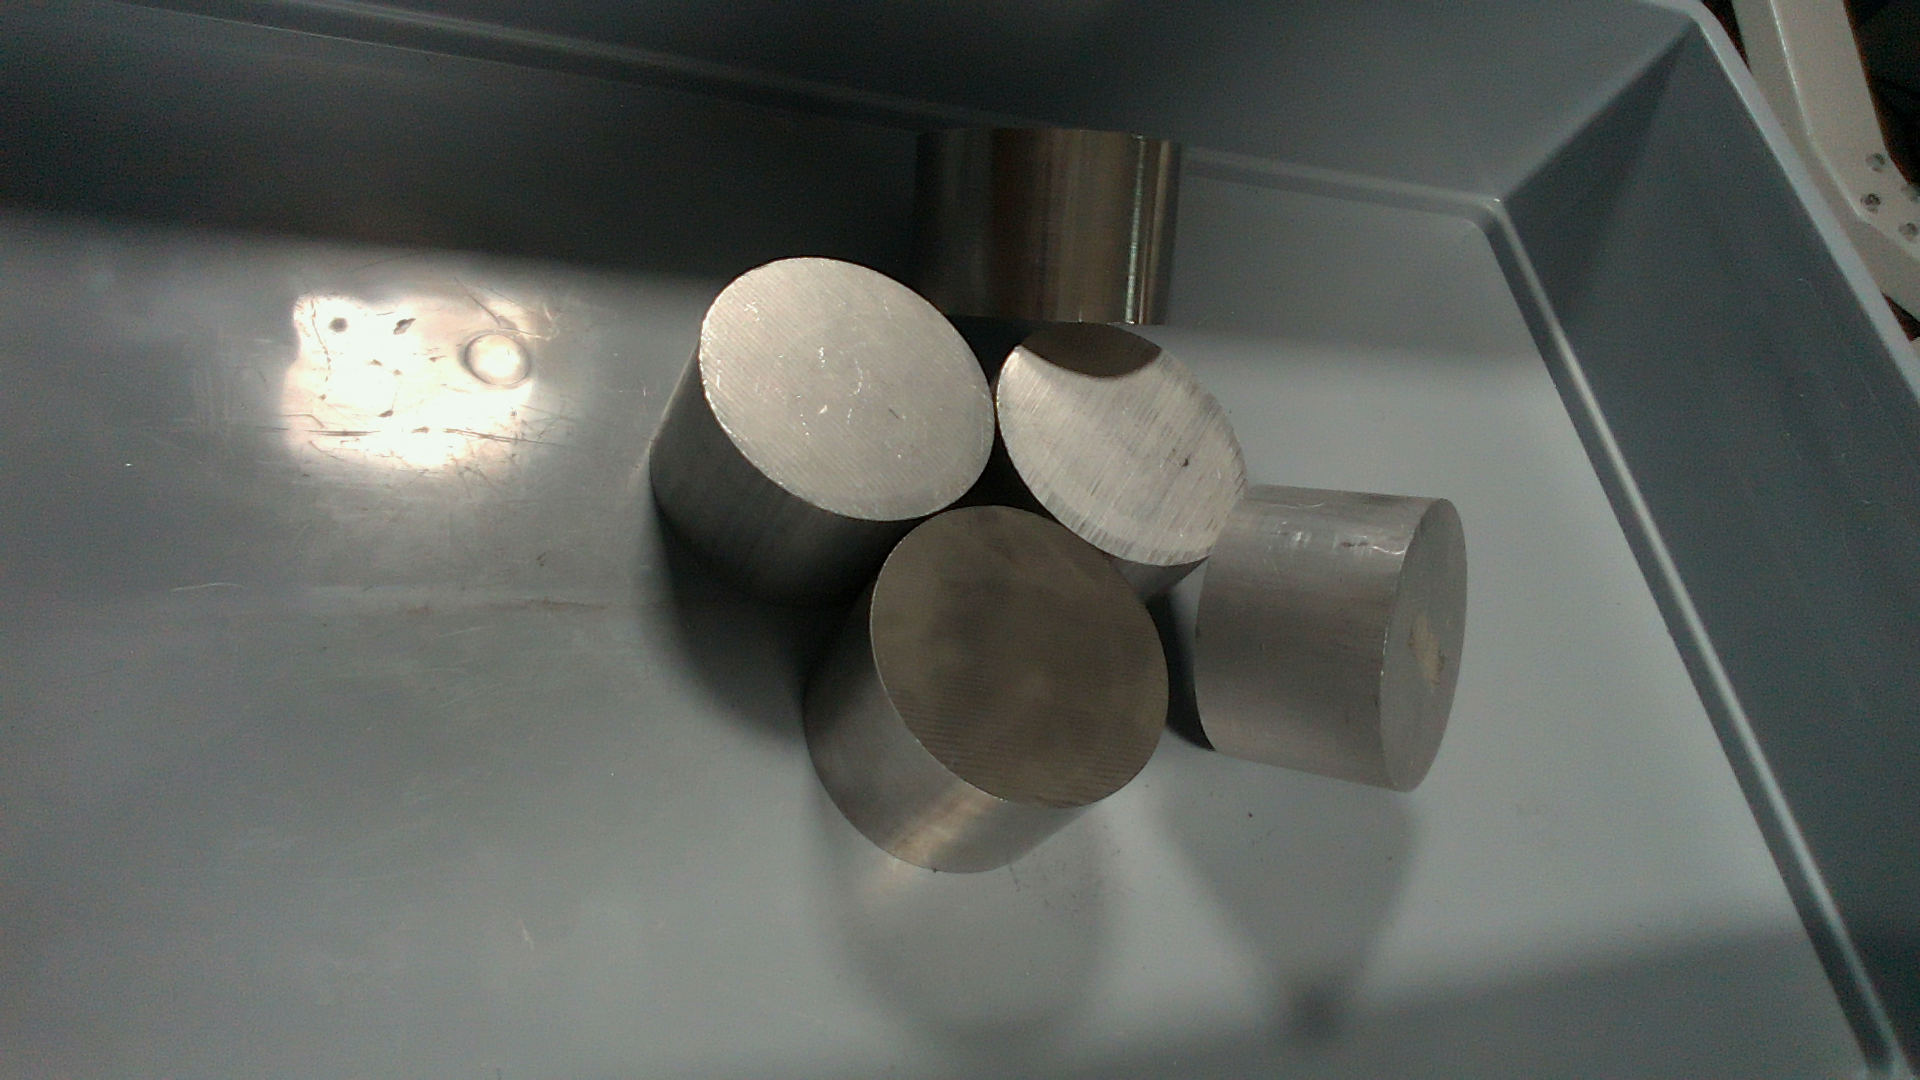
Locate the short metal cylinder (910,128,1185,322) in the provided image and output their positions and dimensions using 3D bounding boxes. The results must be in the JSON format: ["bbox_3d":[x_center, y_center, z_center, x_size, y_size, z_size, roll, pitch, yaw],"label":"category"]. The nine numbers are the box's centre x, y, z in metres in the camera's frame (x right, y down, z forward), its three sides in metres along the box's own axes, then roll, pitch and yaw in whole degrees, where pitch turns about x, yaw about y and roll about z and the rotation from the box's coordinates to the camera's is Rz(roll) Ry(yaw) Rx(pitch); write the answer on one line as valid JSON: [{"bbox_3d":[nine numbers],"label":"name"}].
[{"bbox_3d":[0.026,-0.093,0.414,0.080,0.080,0.050,-3,101,-30],"label":"short metal cylinder"}]

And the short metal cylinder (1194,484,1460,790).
[{"bbox_3d":[0.106,0.026,0.387,0.080,0.050,0.080,-16,109,-55],"label":"short metal cylinder"}]

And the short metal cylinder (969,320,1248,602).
[{"bbox_3d":[0.036,-0.017,0.401,0.080,0.050,0.080,14,56,-21],"label":"short metal cylinder"}]

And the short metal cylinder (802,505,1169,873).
[{"bbox_3d":[0.006,0.038,0.351,0.080,0.050,0.080,14,56,-21],"label":"short metal cylinder"}]

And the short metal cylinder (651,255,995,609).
[{"bbox_3d":[-0.038,-0.029,0.369,0.080,0.050,0.080,14,56,-21],"label":"short metal cylinder"}]
